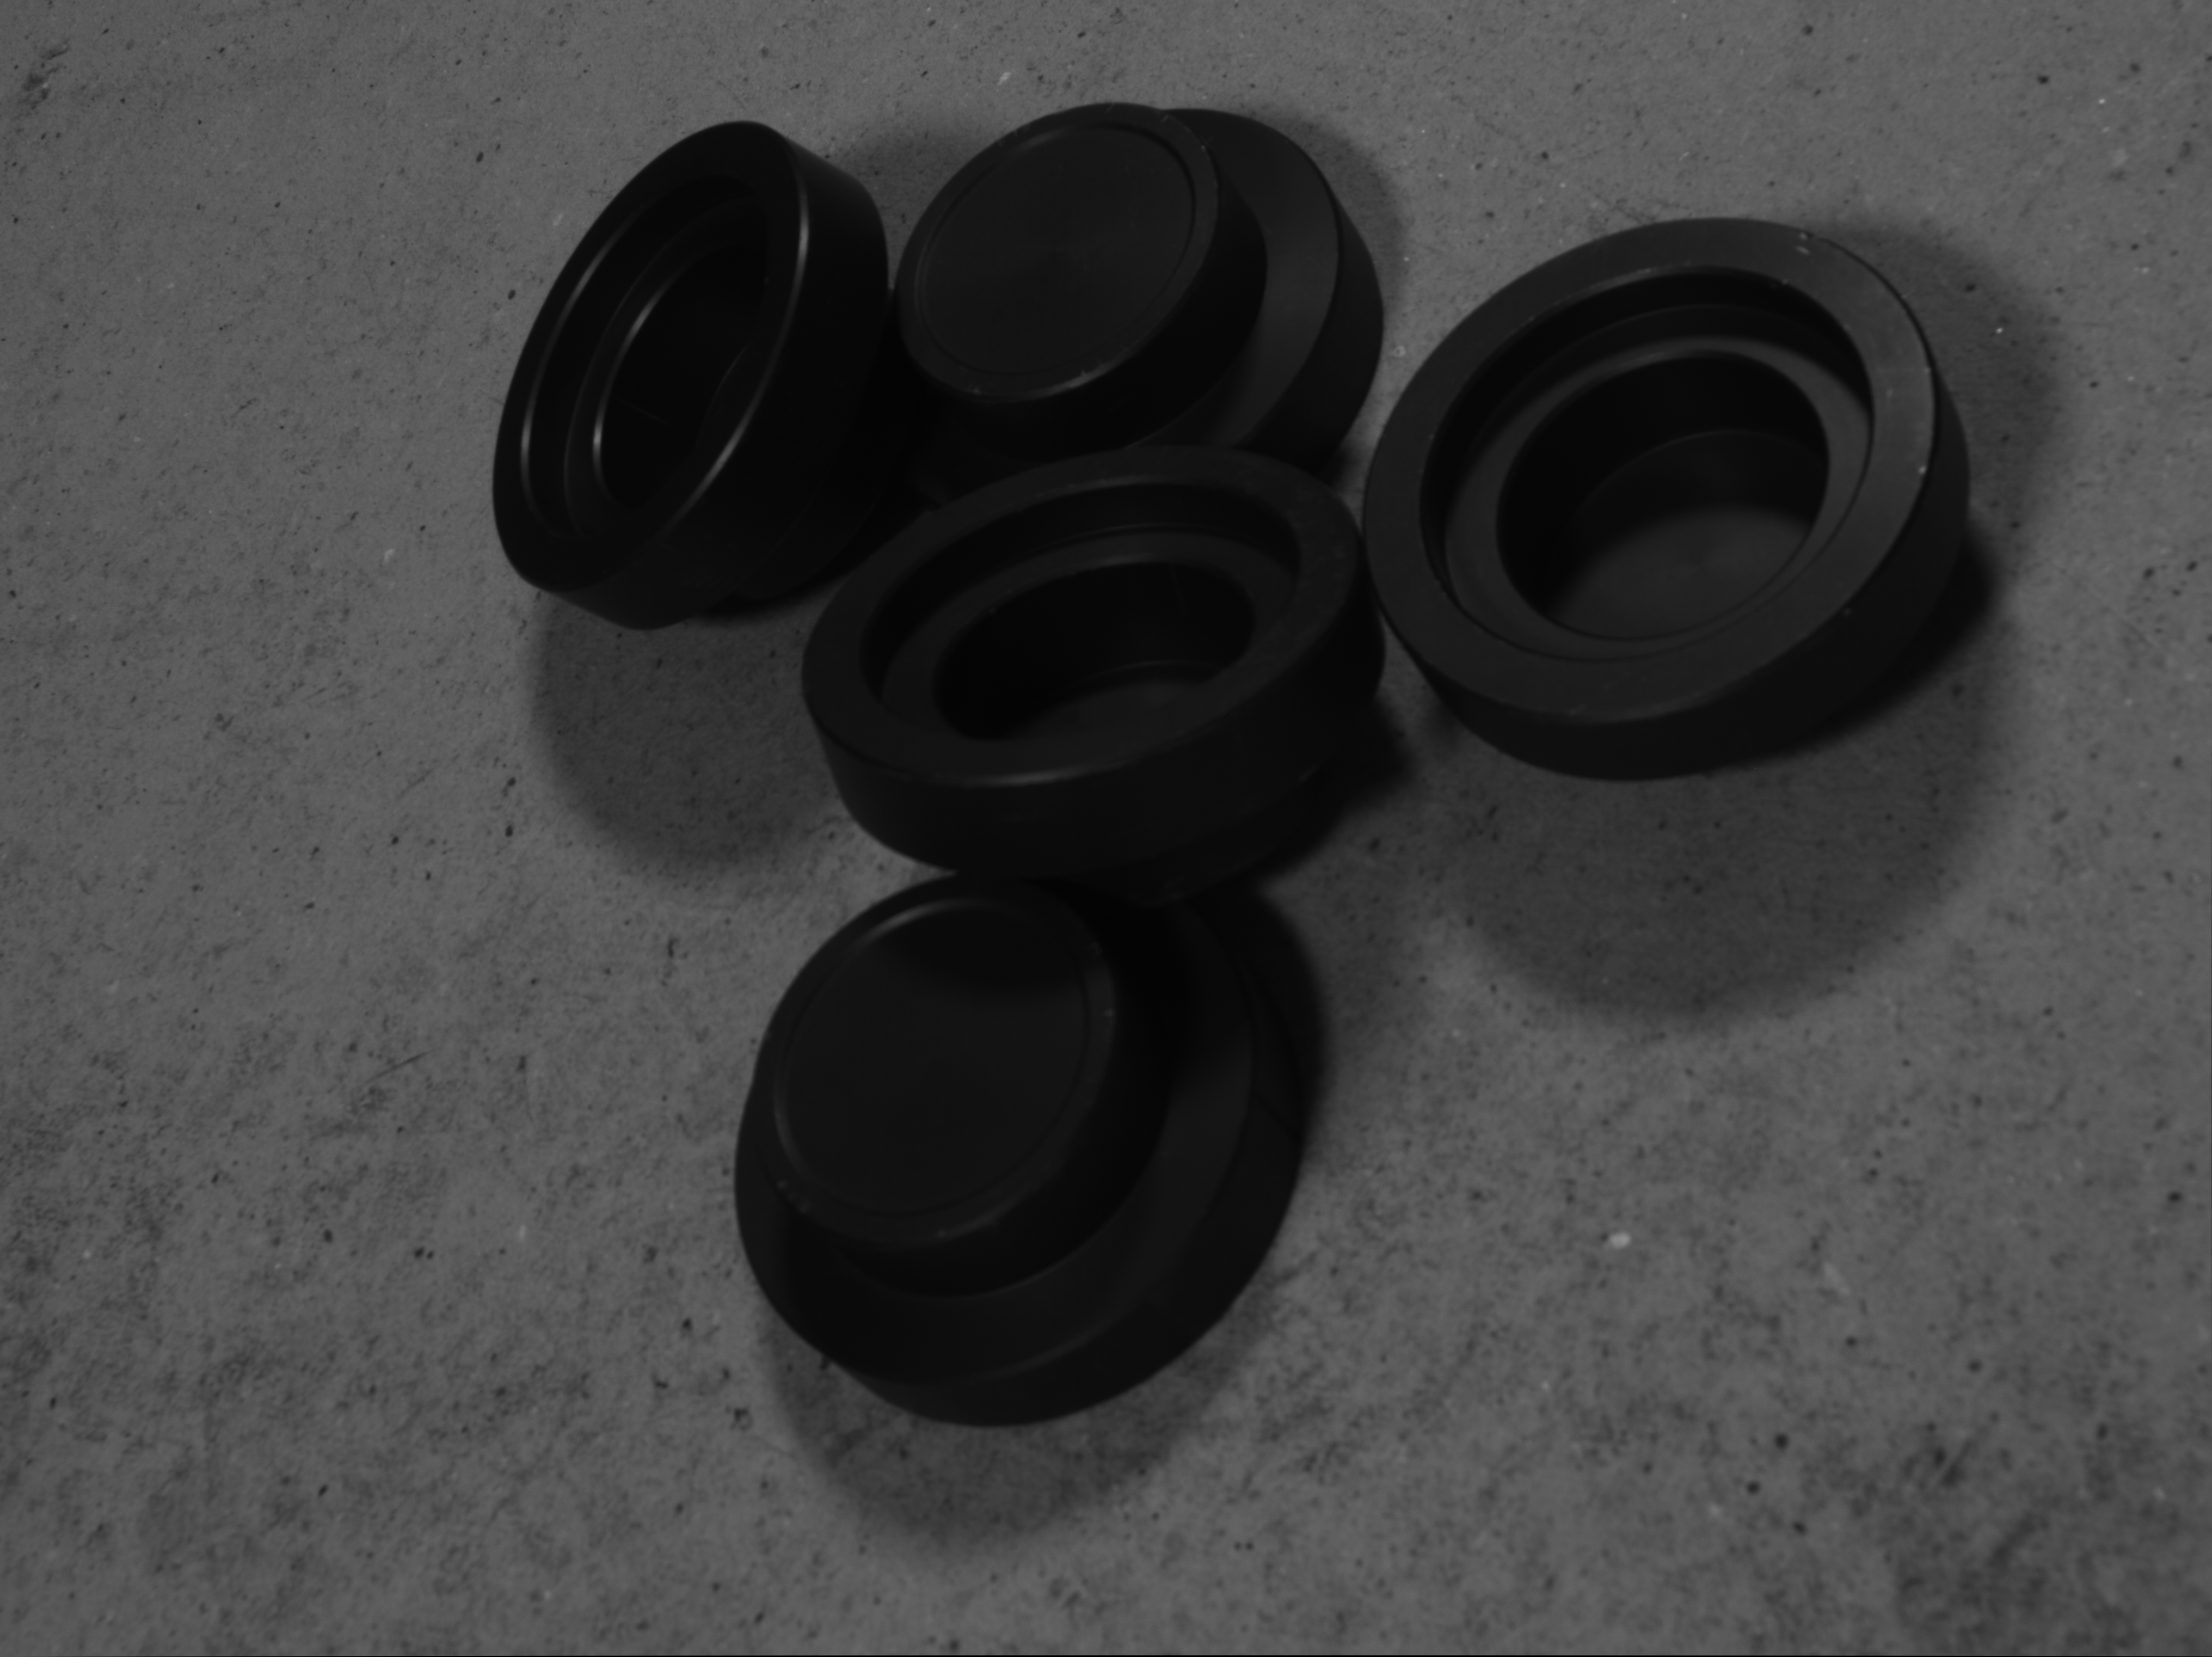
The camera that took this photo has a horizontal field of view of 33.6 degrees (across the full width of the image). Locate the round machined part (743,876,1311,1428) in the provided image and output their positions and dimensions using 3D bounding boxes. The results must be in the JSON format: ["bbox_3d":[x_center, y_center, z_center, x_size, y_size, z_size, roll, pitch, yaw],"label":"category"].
[{"bbox_3d":[-0.019,0.047,0.614,0.098,0.042,0.098,-13,56,21],"label":"round machined part"}]

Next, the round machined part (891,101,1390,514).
[{"bbox_3d":[0.001,-0.098,0.693,0.098,0.042,0.098,-13,56,21],"label":"round machined part"}]

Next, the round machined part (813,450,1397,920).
[{"bbox_3d":[0.002,-0.021,0.632,0.098,0.042,0.098,-12,35,9],"label":"round machined part"}]

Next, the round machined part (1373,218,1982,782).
[{"bbox_3d":[0.098,-0.050,0.612,0.098,0.042,0.098,-13,56,21],"label":"round machined part"}]

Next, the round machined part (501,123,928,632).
[{"bbox_3d":[-0.072,-0.083,0.710,0.098,0.042,0.098,-28,50,39],"label":"round machined part"}]
